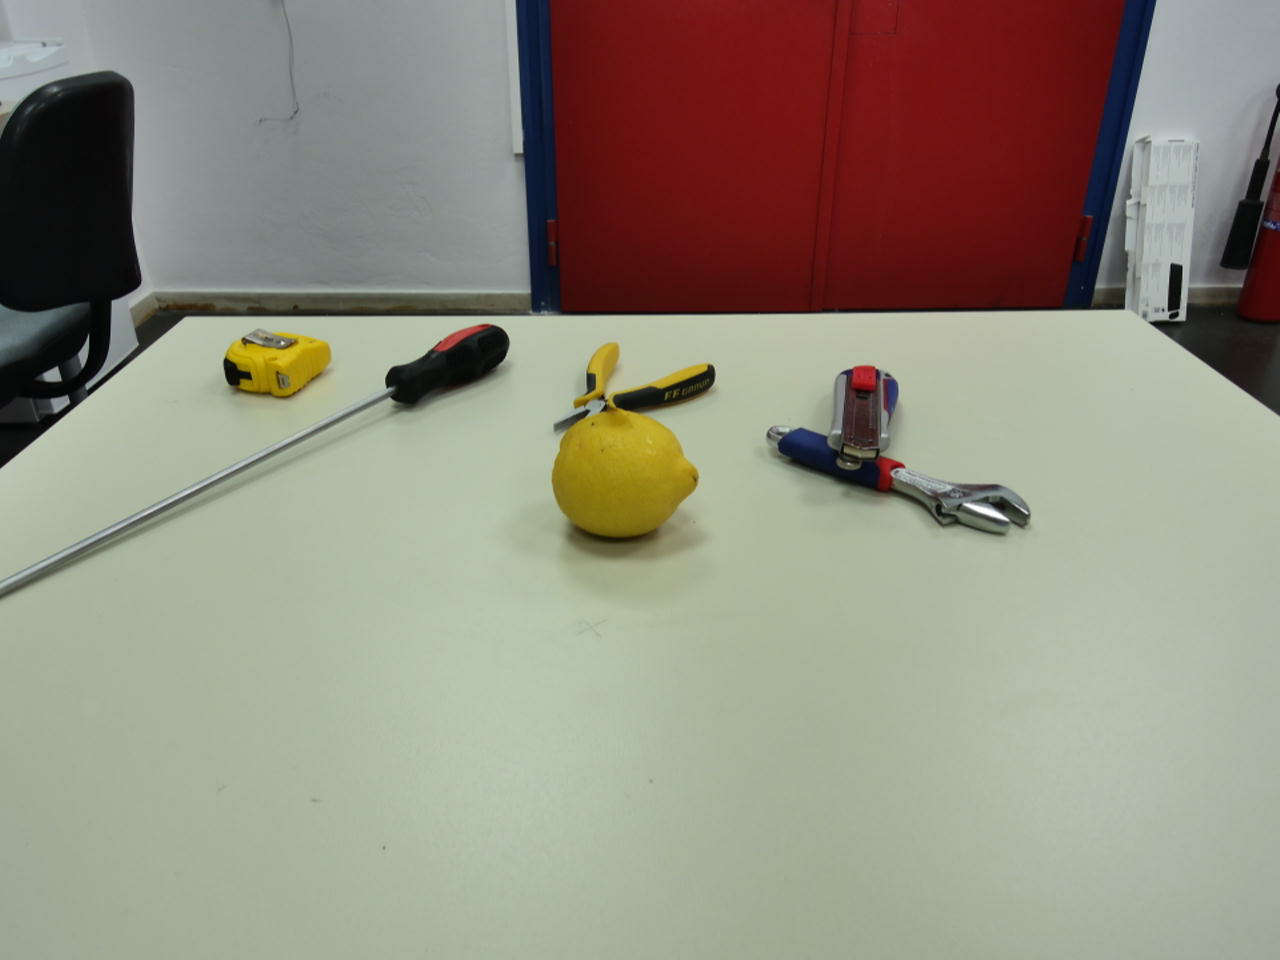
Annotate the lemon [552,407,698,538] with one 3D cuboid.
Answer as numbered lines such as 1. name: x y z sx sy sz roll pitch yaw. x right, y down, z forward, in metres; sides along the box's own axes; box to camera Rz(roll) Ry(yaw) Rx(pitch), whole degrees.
1. lemon: -0.011 -0.006 0.529 0.070 0.071 0.071 -18 30 -30
